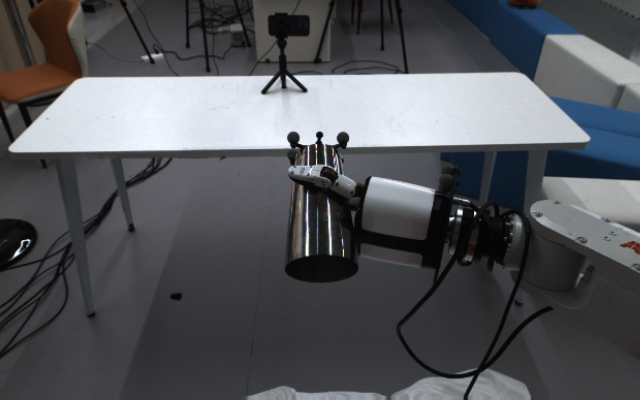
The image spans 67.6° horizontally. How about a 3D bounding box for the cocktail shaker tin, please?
[{"bbox_3d":[-0.001,0.013,0.636,0.093,0.093,0.170,0,59,-3],"label":"cocktail shaker tin"}]
